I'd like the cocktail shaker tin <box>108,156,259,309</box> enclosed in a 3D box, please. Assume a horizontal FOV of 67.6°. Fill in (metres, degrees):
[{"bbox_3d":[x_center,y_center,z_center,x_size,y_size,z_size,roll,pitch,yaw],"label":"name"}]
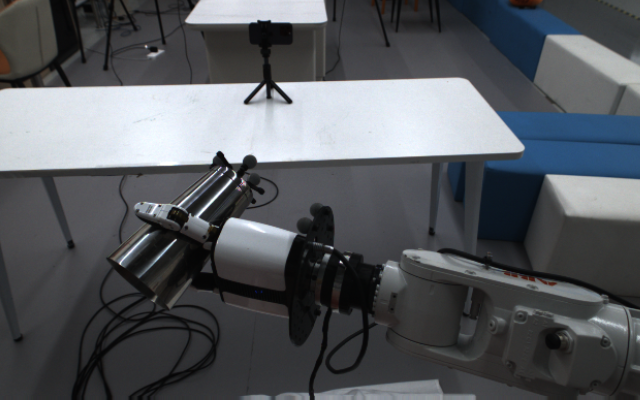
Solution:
[{"bbox_3d":[-0.160,0.033,0.585,0.093,0.093,0.170,23,57,27],"label":"cocktail shaker tin"}]
